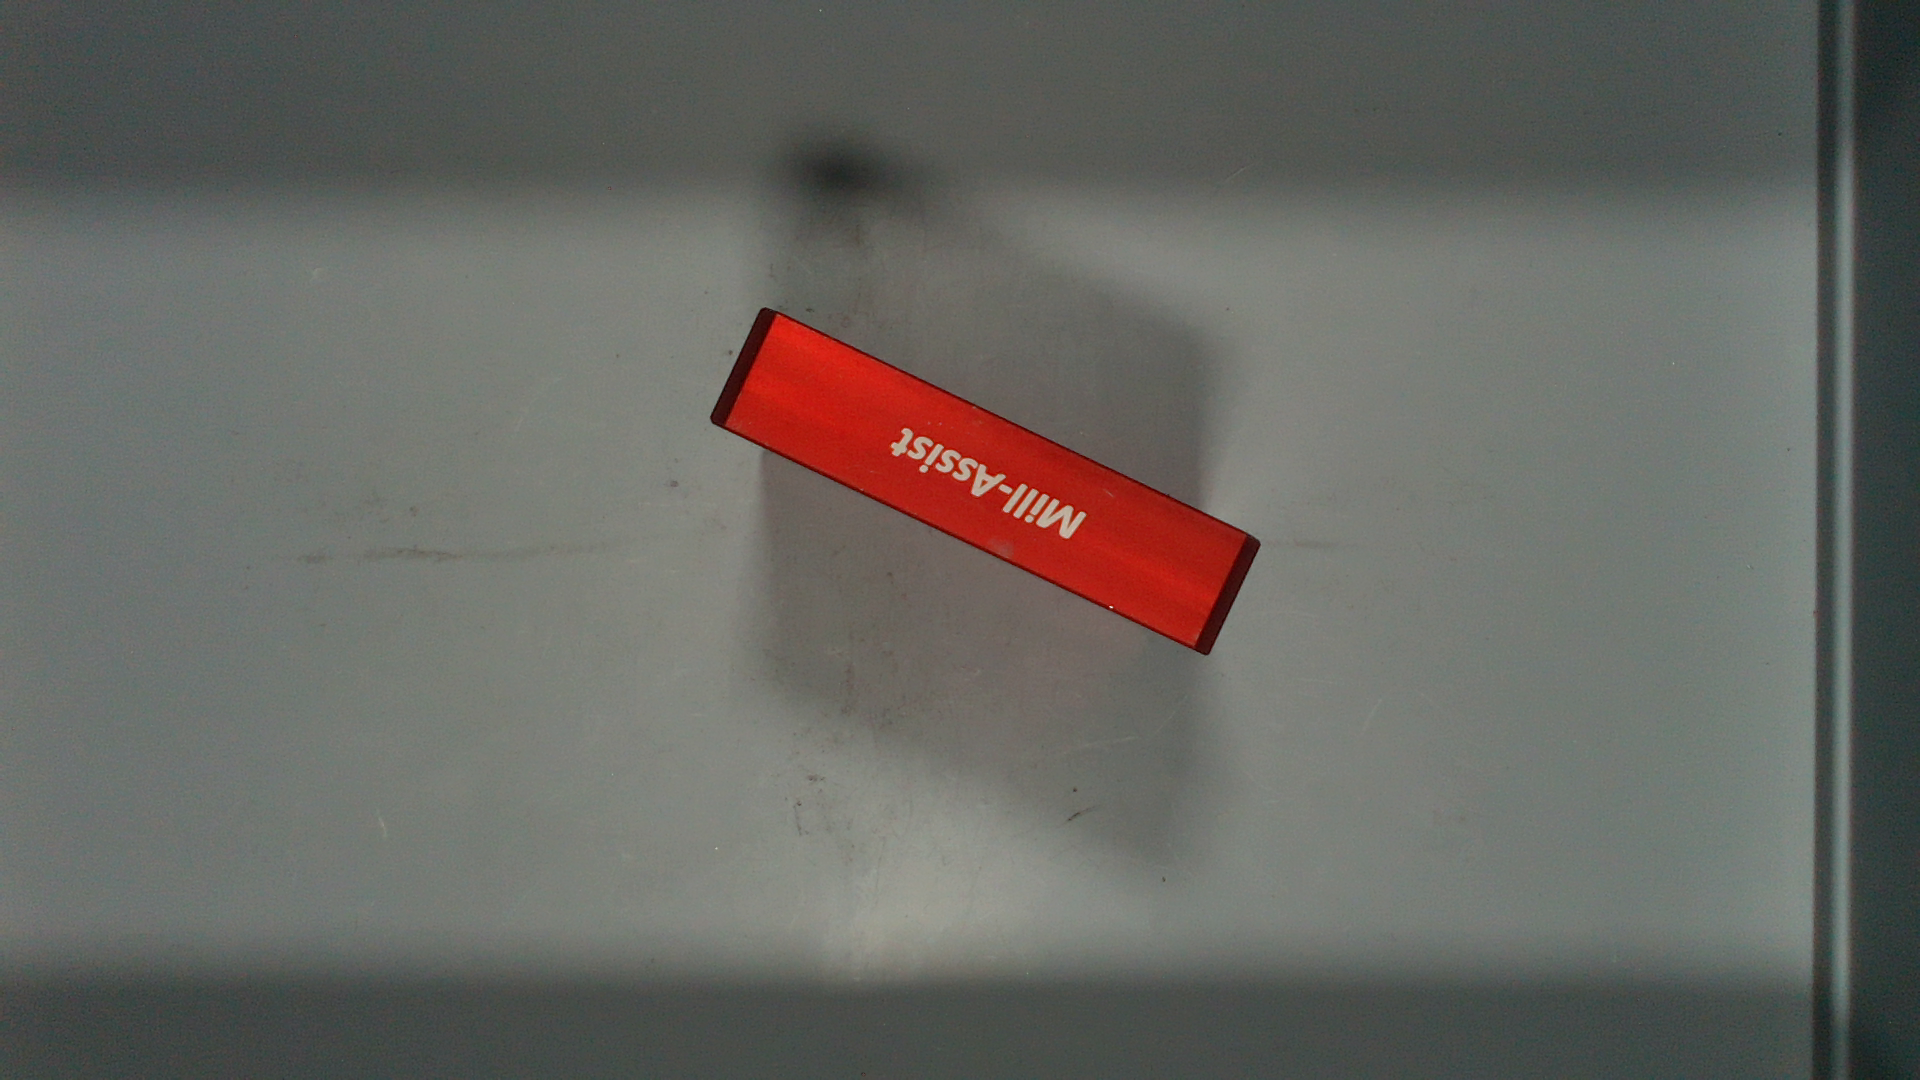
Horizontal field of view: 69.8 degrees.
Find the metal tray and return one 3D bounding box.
[{"bbox_3d":[0.006,-0.013,0.360,0.130,0.090,0.030,25,90,-1],"label":"metal tray"}]
